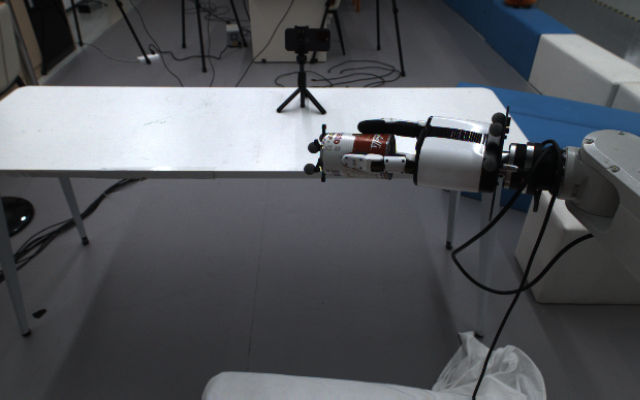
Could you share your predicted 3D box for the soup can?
[{"bbox_3d":[0.060,-0.067,0.730,0.101,0.067,0.067,5,34,18],"label":"soup can"}]
